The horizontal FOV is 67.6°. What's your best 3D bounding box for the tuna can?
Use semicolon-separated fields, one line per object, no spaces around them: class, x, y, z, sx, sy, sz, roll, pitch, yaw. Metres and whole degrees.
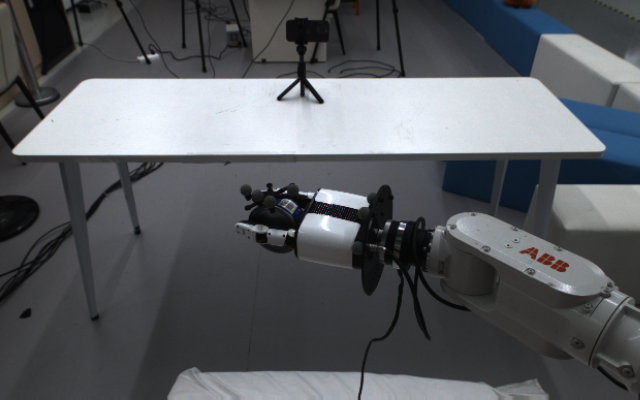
tuna can;-0.061;0.036;0.733;0.085;0.085;0.034;14;34;17
